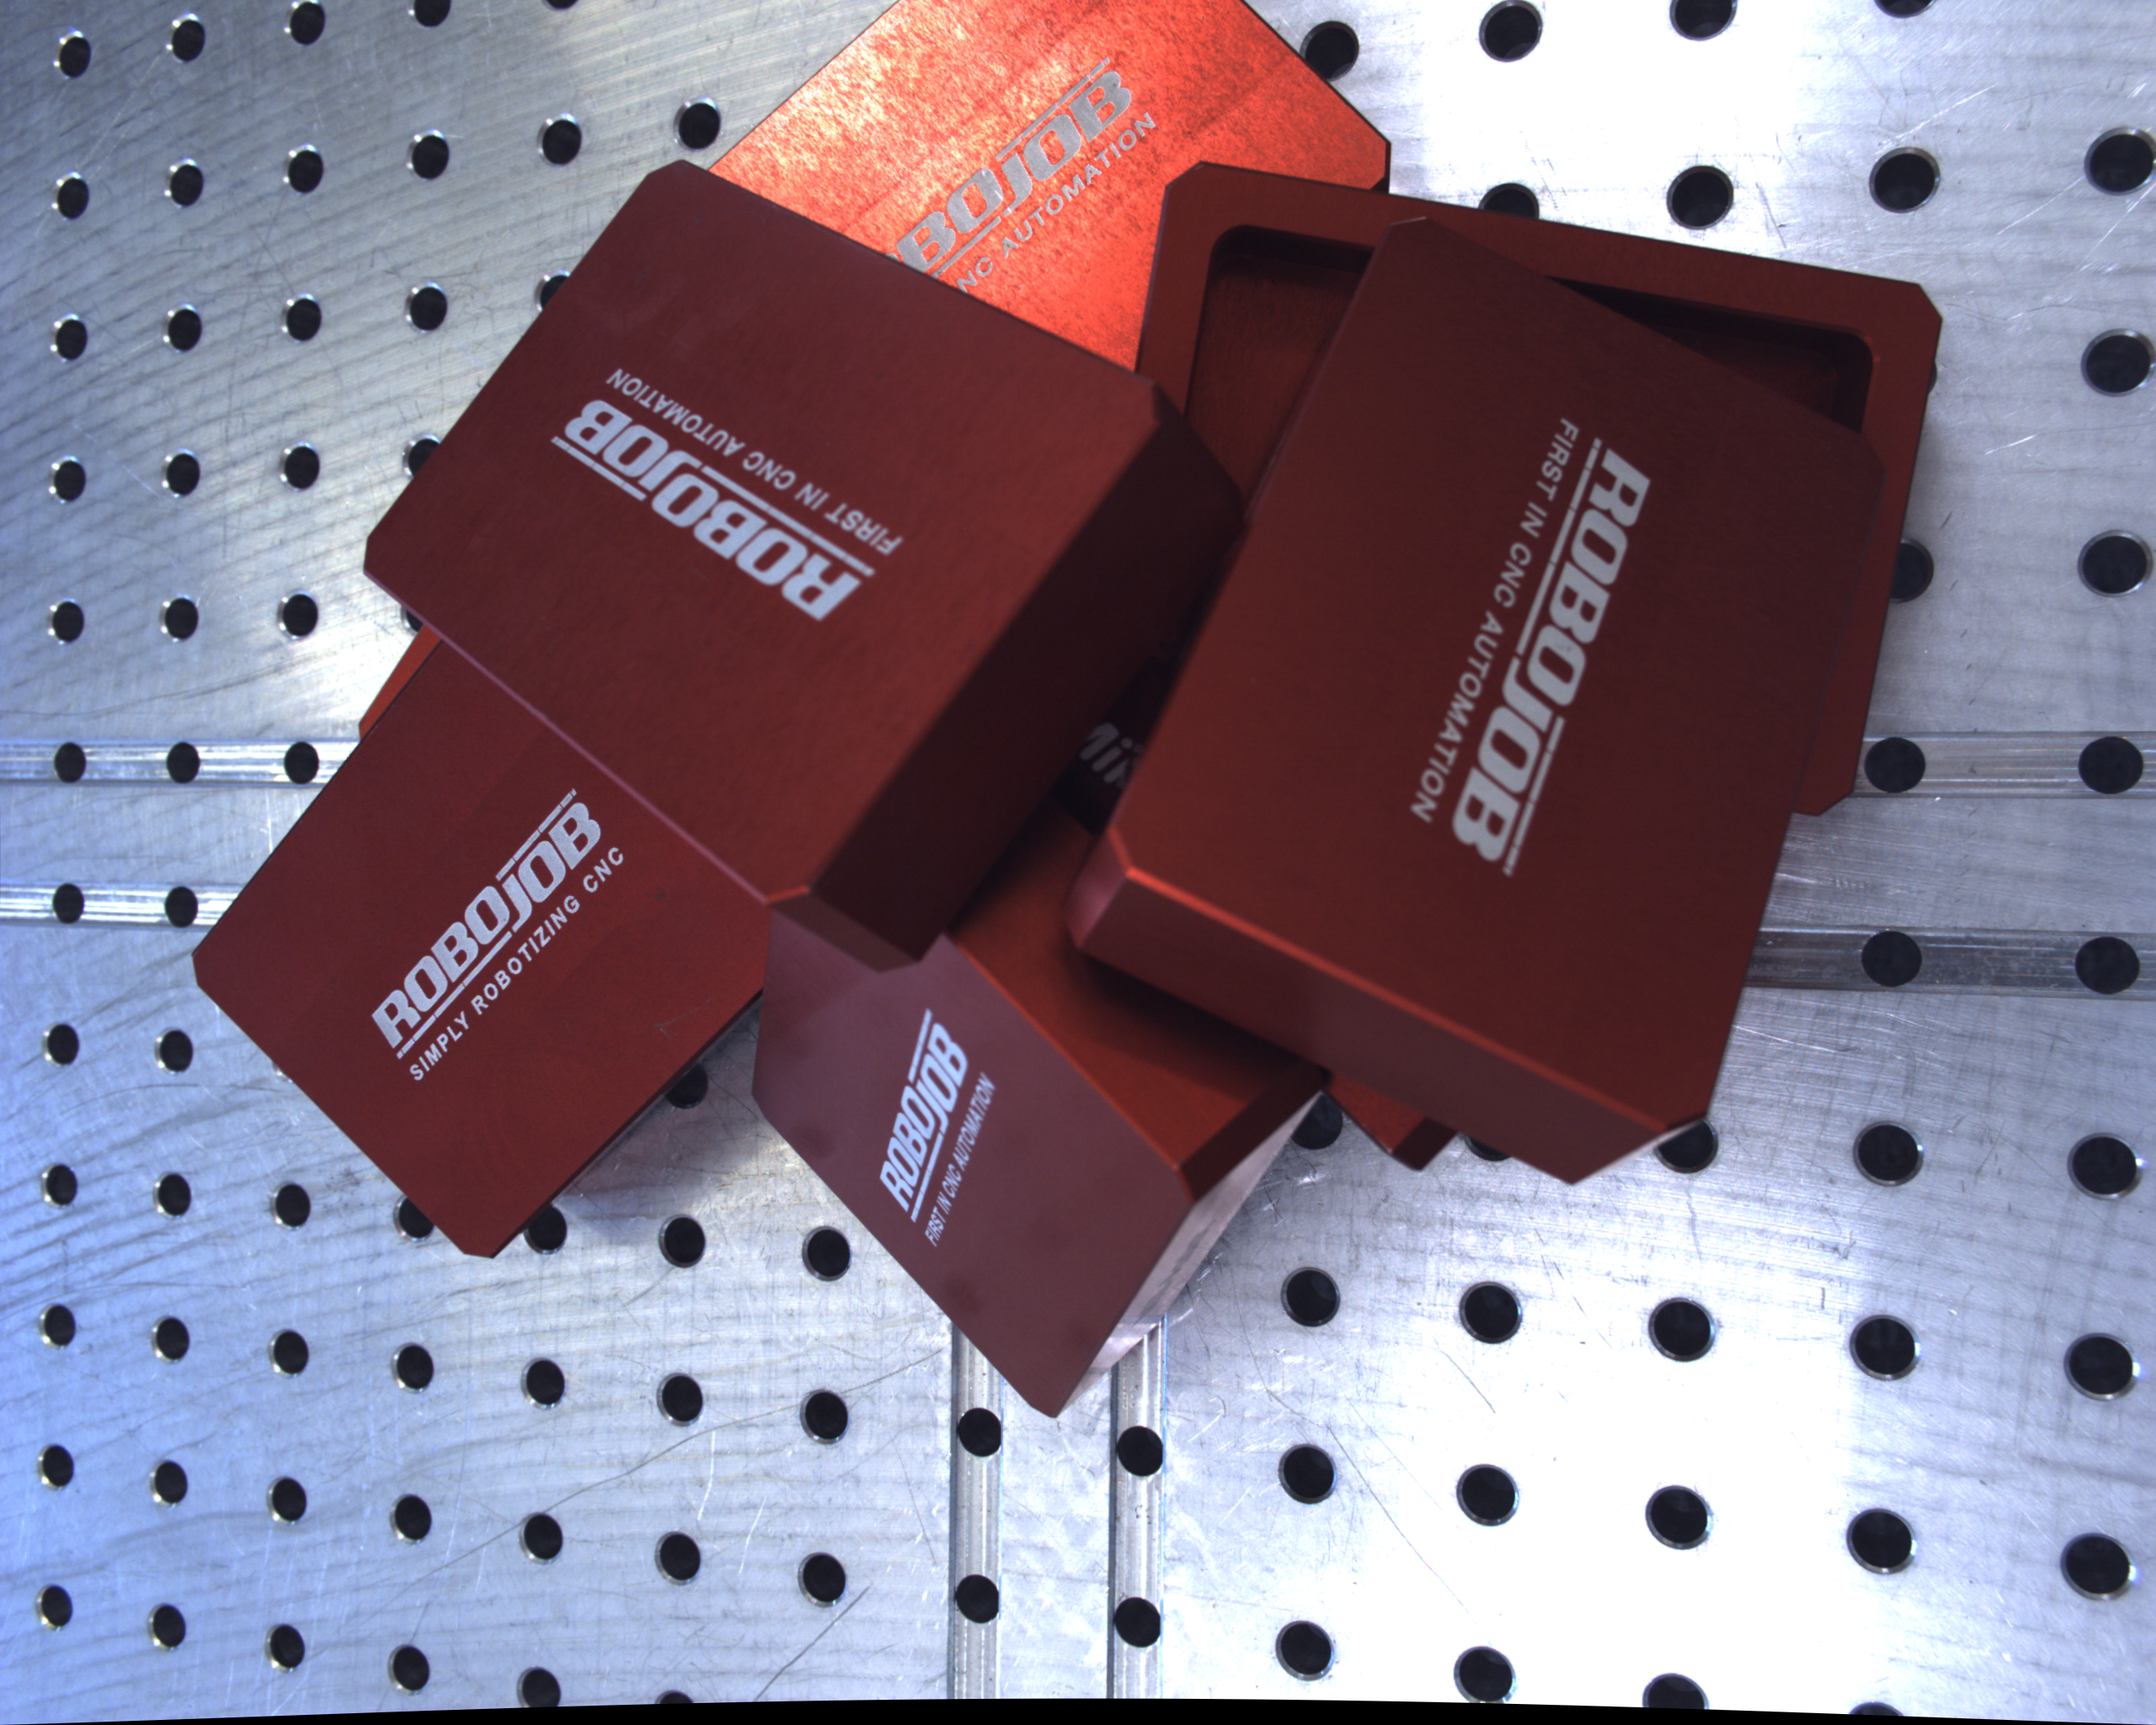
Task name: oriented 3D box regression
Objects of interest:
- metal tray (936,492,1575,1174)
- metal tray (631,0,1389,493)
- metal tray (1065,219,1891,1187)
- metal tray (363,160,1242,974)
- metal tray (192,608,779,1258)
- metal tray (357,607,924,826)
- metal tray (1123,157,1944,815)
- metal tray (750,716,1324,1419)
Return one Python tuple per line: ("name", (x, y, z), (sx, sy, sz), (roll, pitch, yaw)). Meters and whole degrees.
("metal tray", (0.033, -0.008, 0.368), (0.130, 0.090, 0.030), (46, 105, 15))
("metal tray", (-0.017, -0.114, 0.396), (0.130, 0.030, 0.090), (-42, 79, 0))
("metal tray", (0.065, -0.028, 0.320), (0.090, 0.030, 0.130), (26, 63, -3))
("metal tray", (-0.049, -0.052, 0.334), (0.130, 0.030, 0.090), (35, 87, 36))
("metal tray", (-0.111, 0.010, 0.426), (0.090, 0.030, 0.130), (46, 116, -2))
("metal tray", (-0.082, -0.049, 0.439), (0.090, 0.030, 0.130), (41, 102, 15))
("metal tray", (0.072, -0.063, 0.361), (0.131, 0.030, 0.090), (10, 93, -1))
("metal tray", (-0.015, 0.041, 0.369), (0.030, 0.129, 0.090), (-38, 75, -27))
